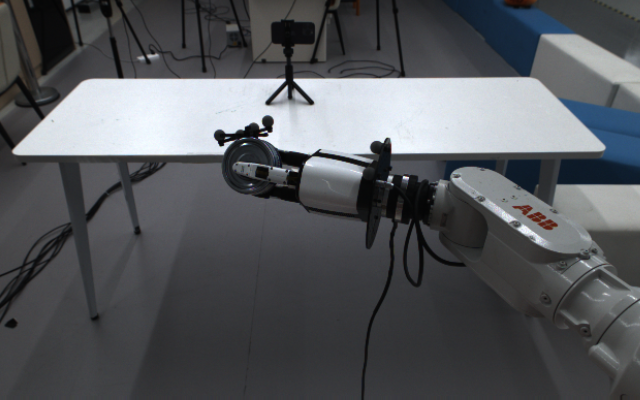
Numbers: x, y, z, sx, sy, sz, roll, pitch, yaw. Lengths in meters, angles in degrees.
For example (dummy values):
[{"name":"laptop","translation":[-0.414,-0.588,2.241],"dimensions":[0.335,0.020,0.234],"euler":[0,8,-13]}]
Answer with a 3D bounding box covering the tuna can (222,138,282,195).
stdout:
[{"name":"tuna can","translation":[-0.099,-0.045,0.717],"dimensions":[0.085,0.085,0.034],"euler":[12,3,14]}]
